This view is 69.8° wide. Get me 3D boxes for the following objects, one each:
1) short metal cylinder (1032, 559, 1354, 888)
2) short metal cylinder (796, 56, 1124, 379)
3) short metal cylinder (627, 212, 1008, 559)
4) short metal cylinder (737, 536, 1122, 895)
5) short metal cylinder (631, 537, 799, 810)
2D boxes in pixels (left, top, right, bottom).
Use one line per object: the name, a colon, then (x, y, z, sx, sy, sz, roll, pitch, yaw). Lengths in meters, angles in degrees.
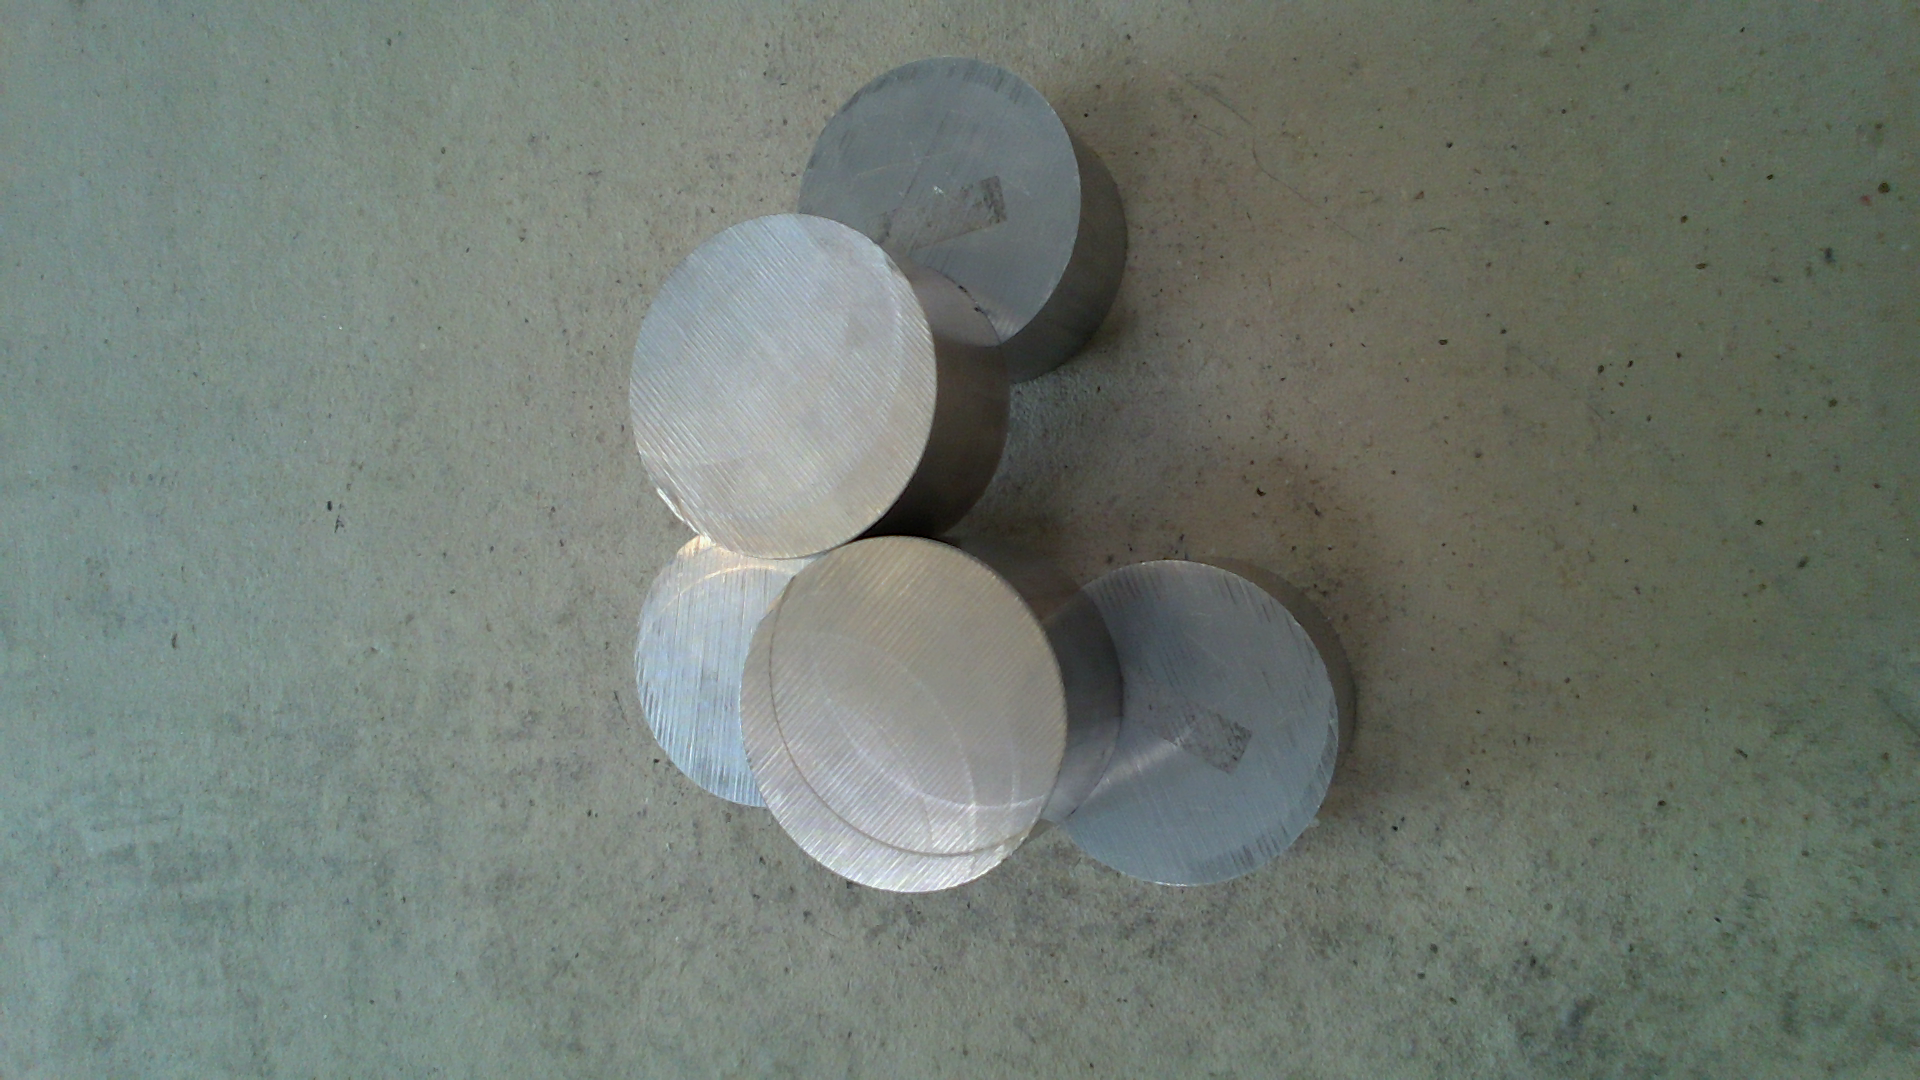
short metal cylinder: (0.060, 0.045, 0.361, 0.080, 0.050, 0.080, 0, 90, 20)
short metal cylinder: (0.001, -0.086, 0.382, 0.080, 0.050, 0.080, 0, 90, 20)
short metal cylinder: (-0.034, -0.035, 0.341, 0.080, 0.050, 0.080, 0, 90, 20)
short metal cylinder: (-0.006, 0.039, 0.331, 0.080, 0.050, 0.080, 0, 90, 19)
short metal cylinder: (-0.047, 0.034, 0.400, 0.080, 0.050, 0.080, 0, 90, 20)
